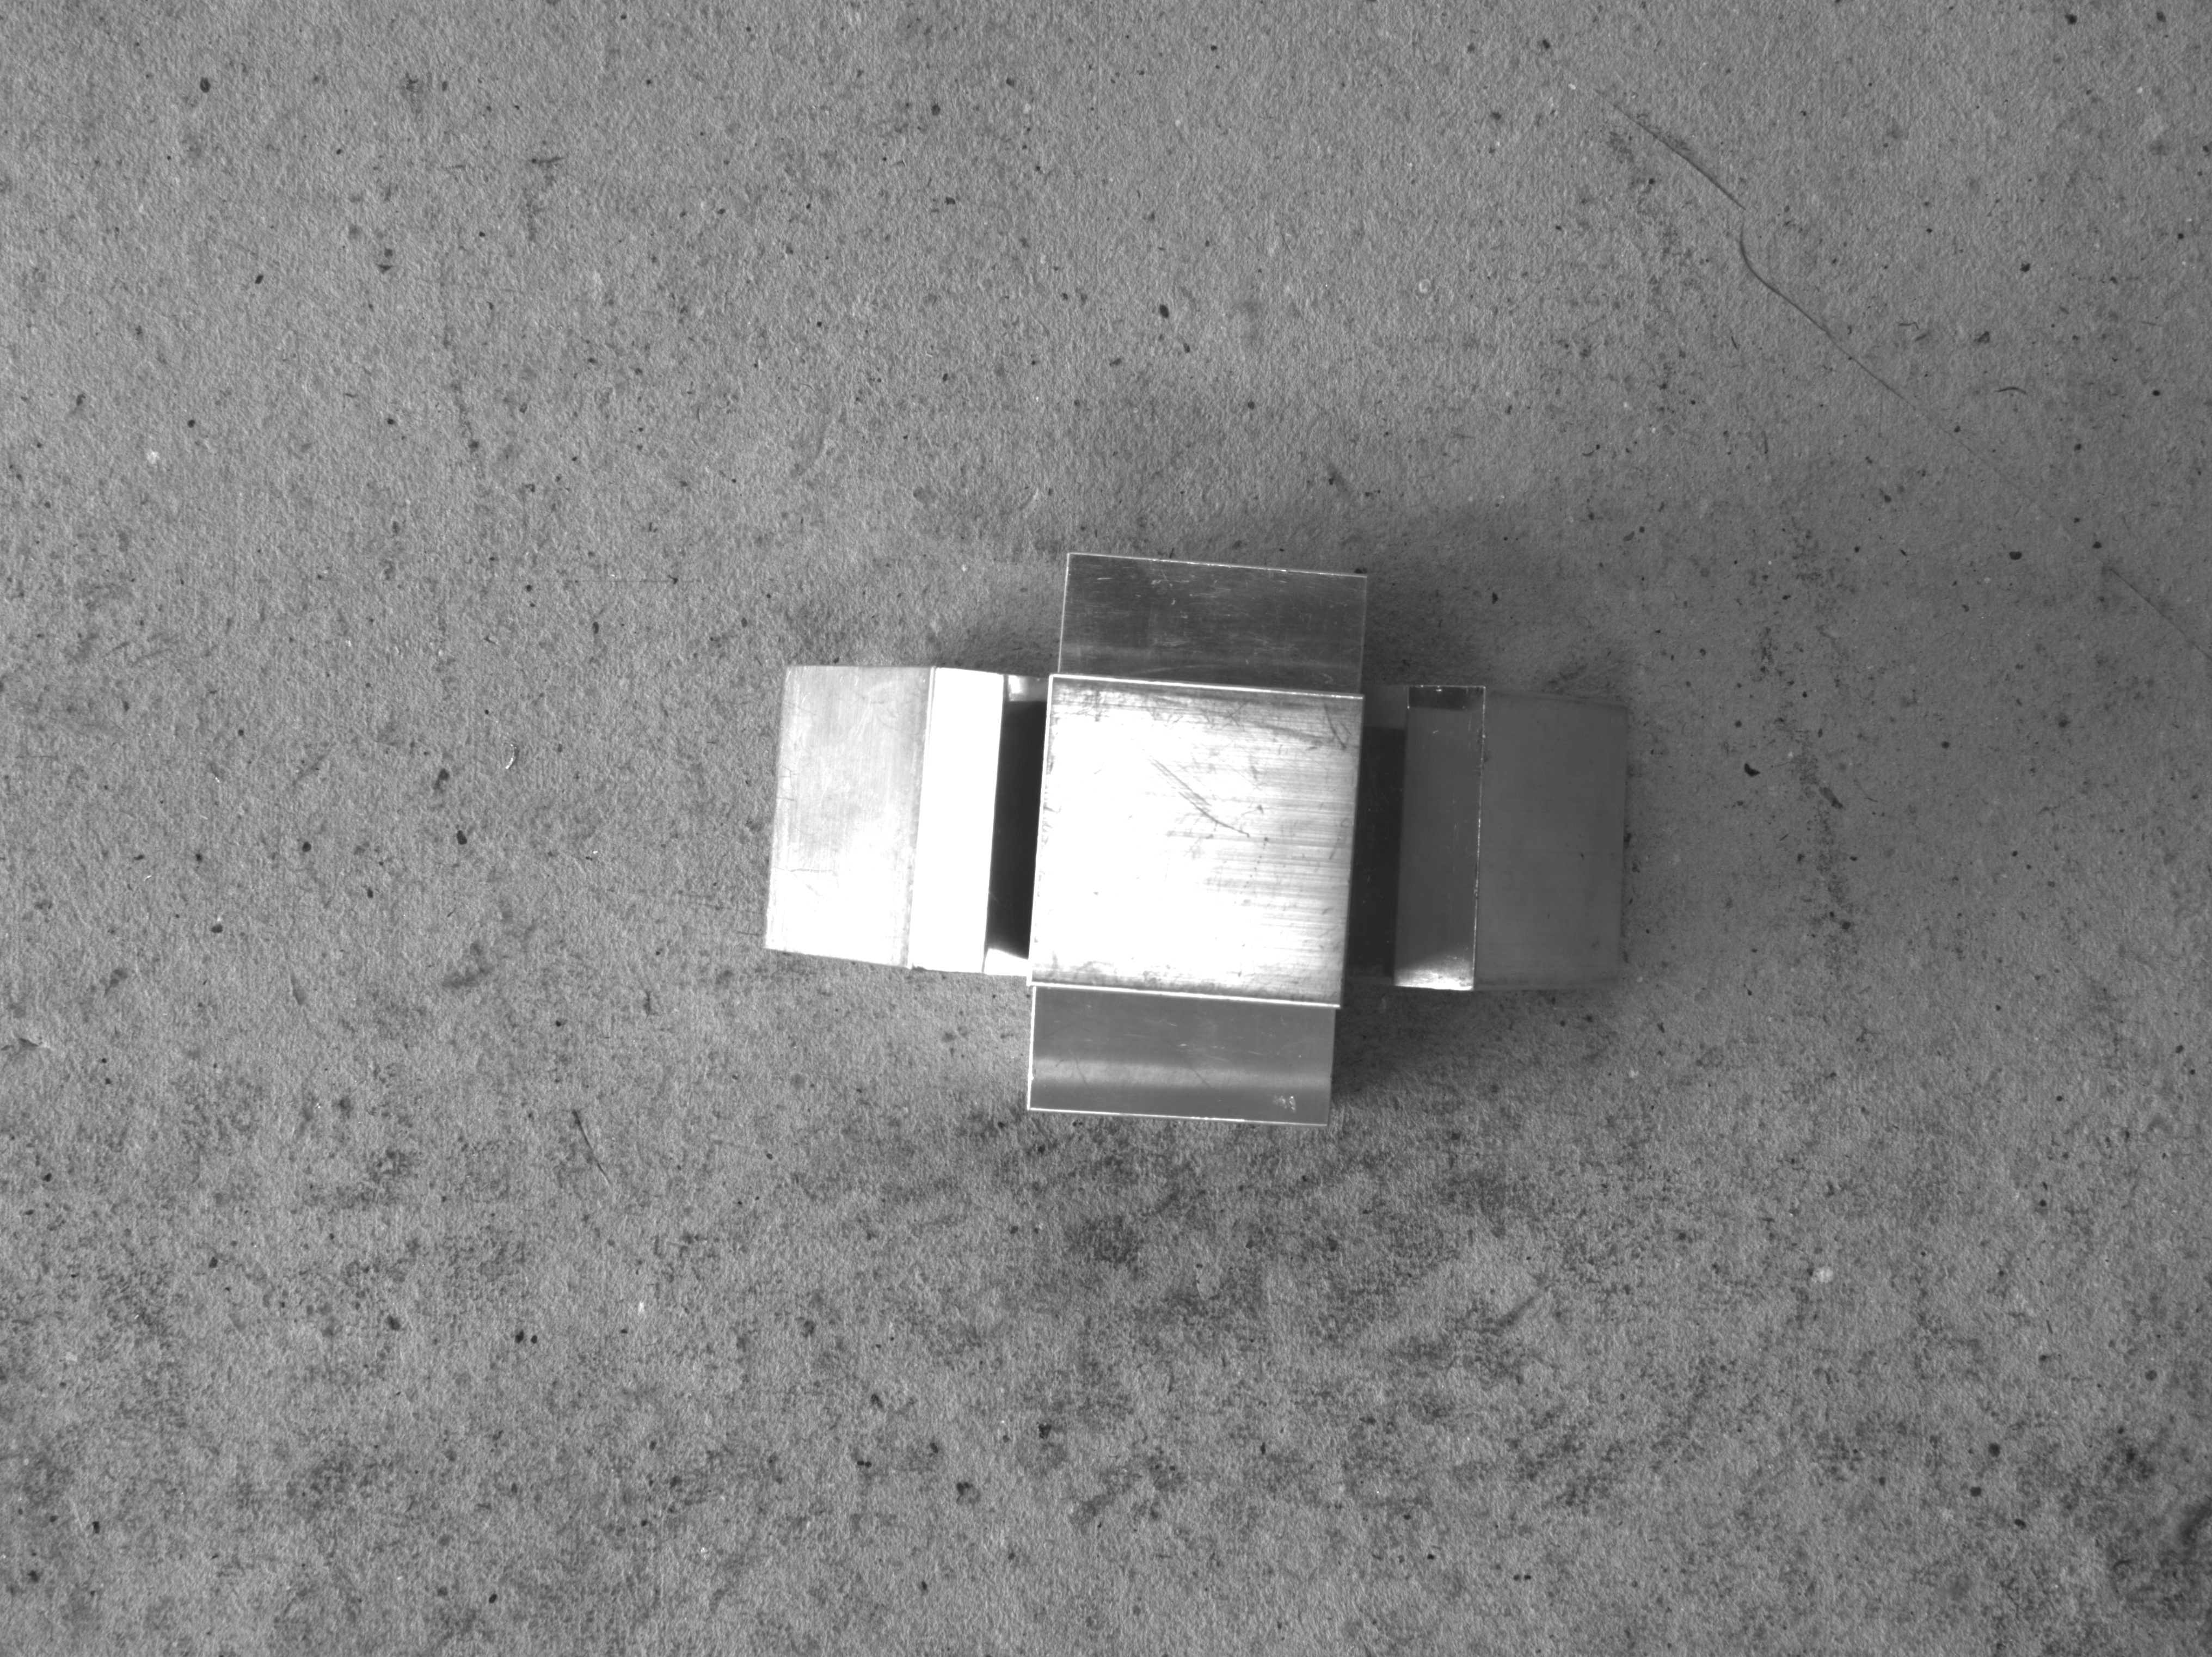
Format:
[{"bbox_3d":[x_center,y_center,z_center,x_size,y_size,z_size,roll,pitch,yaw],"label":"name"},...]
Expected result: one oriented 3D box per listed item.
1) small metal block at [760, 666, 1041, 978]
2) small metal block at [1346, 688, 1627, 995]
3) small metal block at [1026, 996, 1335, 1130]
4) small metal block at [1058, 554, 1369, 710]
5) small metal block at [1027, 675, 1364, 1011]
[{"bbox_3d":[-0.034,-0.002,0.632,0.025,0.050,0.050,4,90,-35],"label":"small metal block"},{"bbox_3d":[0.065,0.002,0.631,0.025,0.050,0.050,2,90,36],"label":"small metal block"},{"bbox_3d":[0.013,0.036,0.634,0.050,0.050,0.025,3,90,0],"label":"small metal block"},{"bbox_3d":[0.018,-0.031,0.634,0.050,0.050,0.025,5,90,0],"label":"small metal block"},{"bbox_3d":[0.014,0.002,0.597,0.050,0.025,0.050,4,90,0],"label":"small metal block"}]
